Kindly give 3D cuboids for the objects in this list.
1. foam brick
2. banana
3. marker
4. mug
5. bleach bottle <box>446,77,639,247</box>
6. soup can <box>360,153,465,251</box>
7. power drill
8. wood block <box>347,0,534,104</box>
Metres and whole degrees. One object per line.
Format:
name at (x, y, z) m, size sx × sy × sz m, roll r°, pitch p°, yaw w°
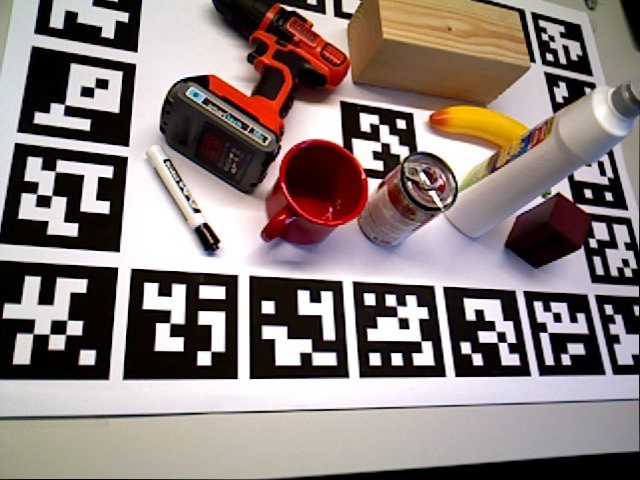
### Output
foam brick at (0.275, -0.001, 0.643) m, size 0.052 × 0.080 × 0.050 m, roll 35°, pitch 59°, yaw -3°
banana at (0.219, -0.138, 0.691) m, size 0.196 × 0.039 × 0.074 m, roll 20°, pitch 78°, yaw -15°
marker at (-0.133, -0.030, 0.530) m, size 0.019 × 0.020 × 0.121 m, roll -28°, pitch 83°, yaw -26°
mug at (-0.013, -0.037, 0.539) m, size 0.093 × 0.083 × 0.115 m, roll 45°, pitch 64°, yaw -2°
bleach bottle at (0.230, -0.083, 0.554) m, size 0.068 × 0.256 × 0.100 m, roll 31°, pitch 60°, yaw -7°
soup can at (0.092, -0.039, 0.563) m, size 0.067 × 0.104 × 0.067 m, roll 9°, pitch 62°, yaw -19°
power drill at (-0.073, -0.170, 0.588) m, size 0.184 × 0.058 × 0.183 m, roll 33°, pitch 61°, yaw -11°
wood block at (0.147, -0.236, 0.675) m, size 0.203 × 0.093 × 0.089 m, roll 3°, pitch 69°, yaw -20°
